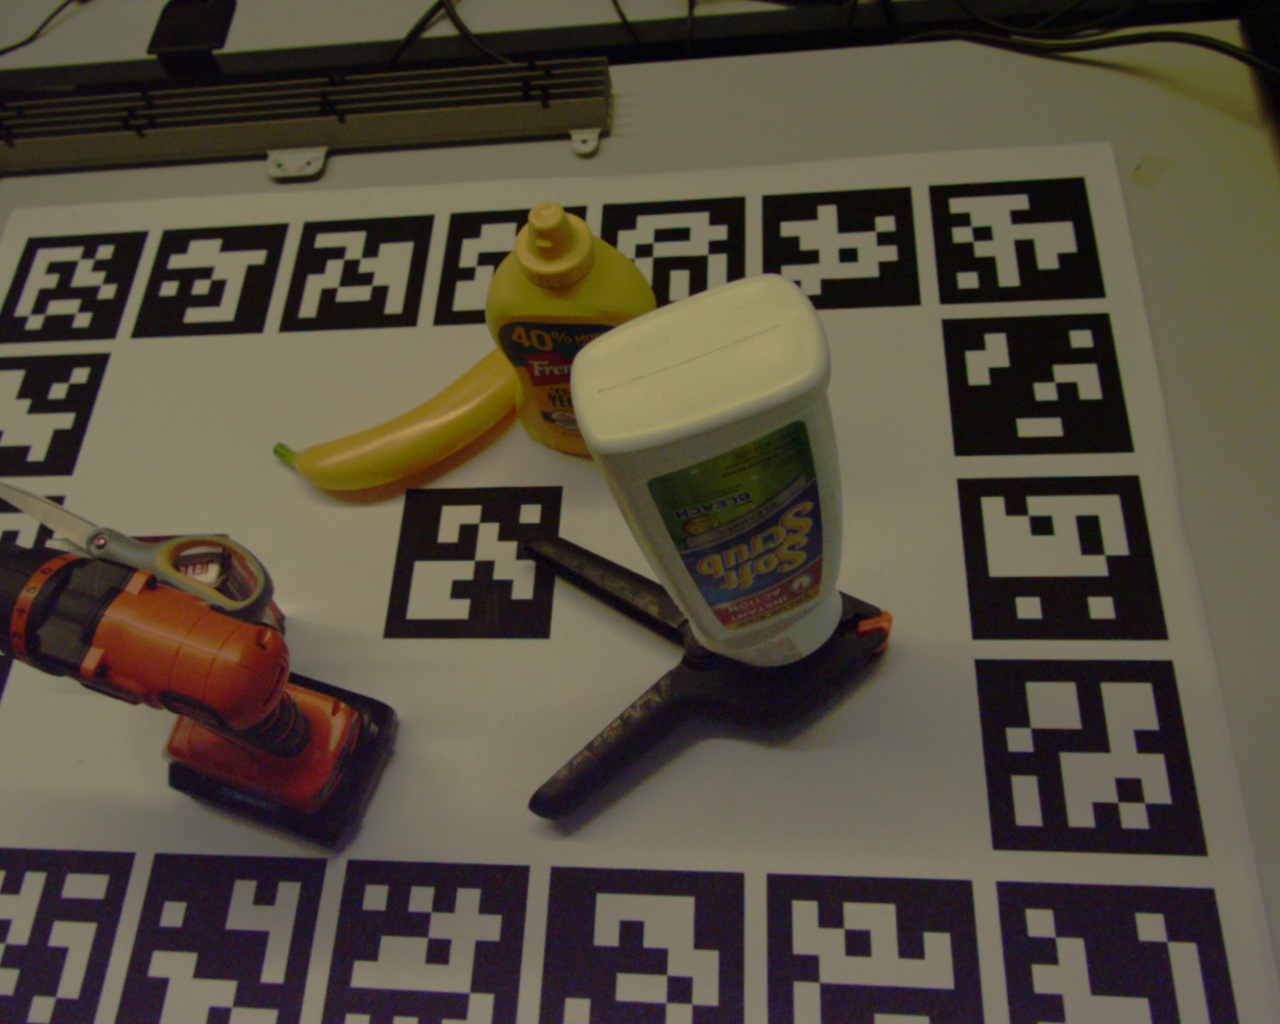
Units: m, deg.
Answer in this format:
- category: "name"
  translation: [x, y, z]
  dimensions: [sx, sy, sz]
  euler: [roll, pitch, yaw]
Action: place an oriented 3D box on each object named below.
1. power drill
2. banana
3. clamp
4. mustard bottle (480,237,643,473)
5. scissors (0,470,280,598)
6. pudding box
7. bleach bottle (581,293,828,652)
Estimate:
- category: "power drill"
  translation: [-0.239, 0.090, 0.576]
  dimensions: [0.186, 0.186, 0.057]
  euler: [10, 57, 16]
- category: "banana"
  translation: [-0.144, -0.075, 0.760]
  dimensions: [0.196, 0.038, 0.075]
  euler: [-36, 46, -11]
- category: "clamp"
  translation: [0.028, 0.069, 0.648]
  dimensions: [0.203, 0.036, 0.166]
  euler: [-6, 63, 4]
- category: "mustard bottle"
  translation: [-0.045, -0.094, 0.681]
  dimensions: [0.097, 0.190, 0.058]
  euler: [12, 64, 13]
- category: "scissors"
  translation: [-0.301, 0.016, 0.640]
  dimensions: [0.204, 0.016, 0.087]
  euler: [24, 72, 15]
- category: "pudding box"
  translation: [-0.286, 0.052, 0.691]
  dimensions: [0.114, 0.089, 0.039]
  euler: [3, 56, 9]
- category: "bleach bottle"
  translation: [0.052, 0.006, 0.559]
  dimensions: [0.103, 0.248, 0.068]
  euler: [-20, 57, 5]
